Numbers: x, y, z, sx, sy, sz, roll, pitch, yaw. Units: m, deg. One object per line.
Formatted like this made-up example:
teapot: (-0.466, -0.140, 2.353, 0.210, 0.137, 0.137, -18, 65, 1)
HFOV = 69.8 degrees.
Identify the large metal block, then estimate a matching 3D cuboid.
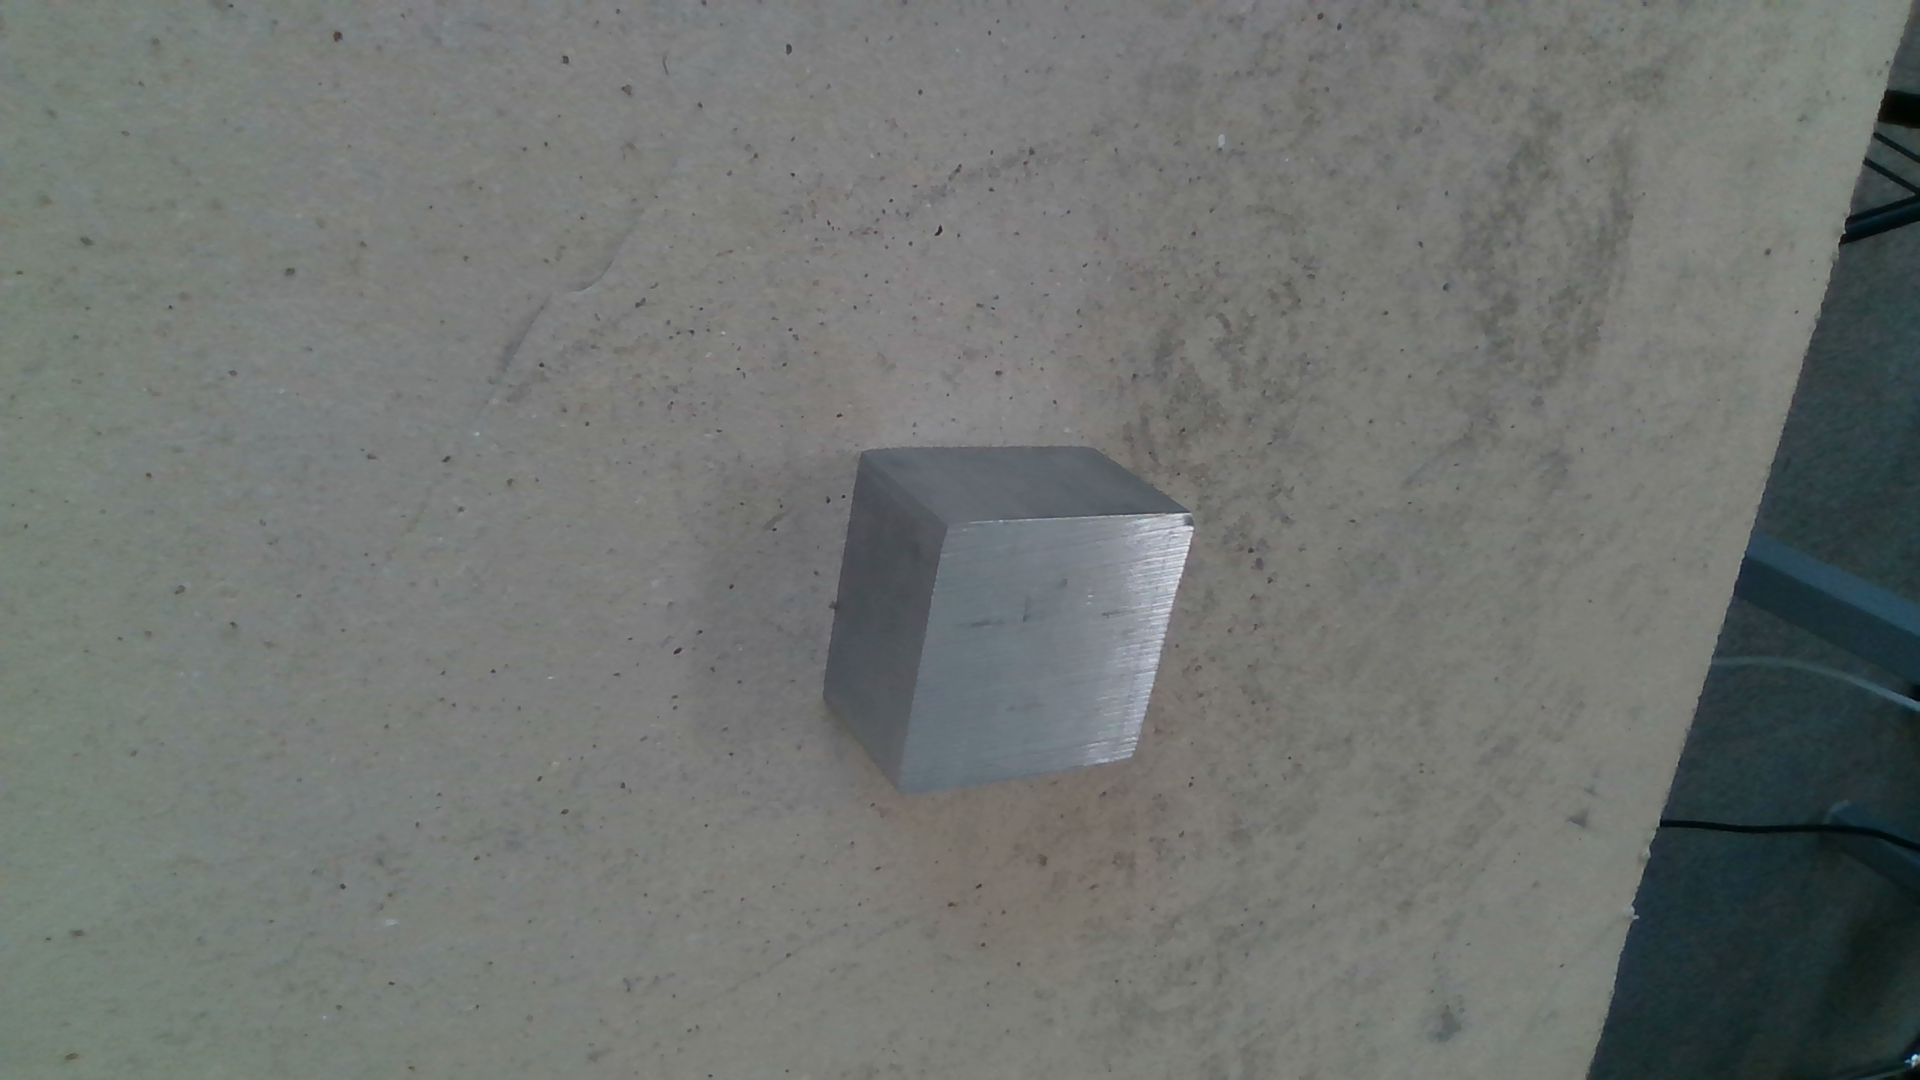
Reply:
large metal block: (0.012, 0.020, 0.391, 0.080, 0.050, 0.080, -3, 117, -30)
